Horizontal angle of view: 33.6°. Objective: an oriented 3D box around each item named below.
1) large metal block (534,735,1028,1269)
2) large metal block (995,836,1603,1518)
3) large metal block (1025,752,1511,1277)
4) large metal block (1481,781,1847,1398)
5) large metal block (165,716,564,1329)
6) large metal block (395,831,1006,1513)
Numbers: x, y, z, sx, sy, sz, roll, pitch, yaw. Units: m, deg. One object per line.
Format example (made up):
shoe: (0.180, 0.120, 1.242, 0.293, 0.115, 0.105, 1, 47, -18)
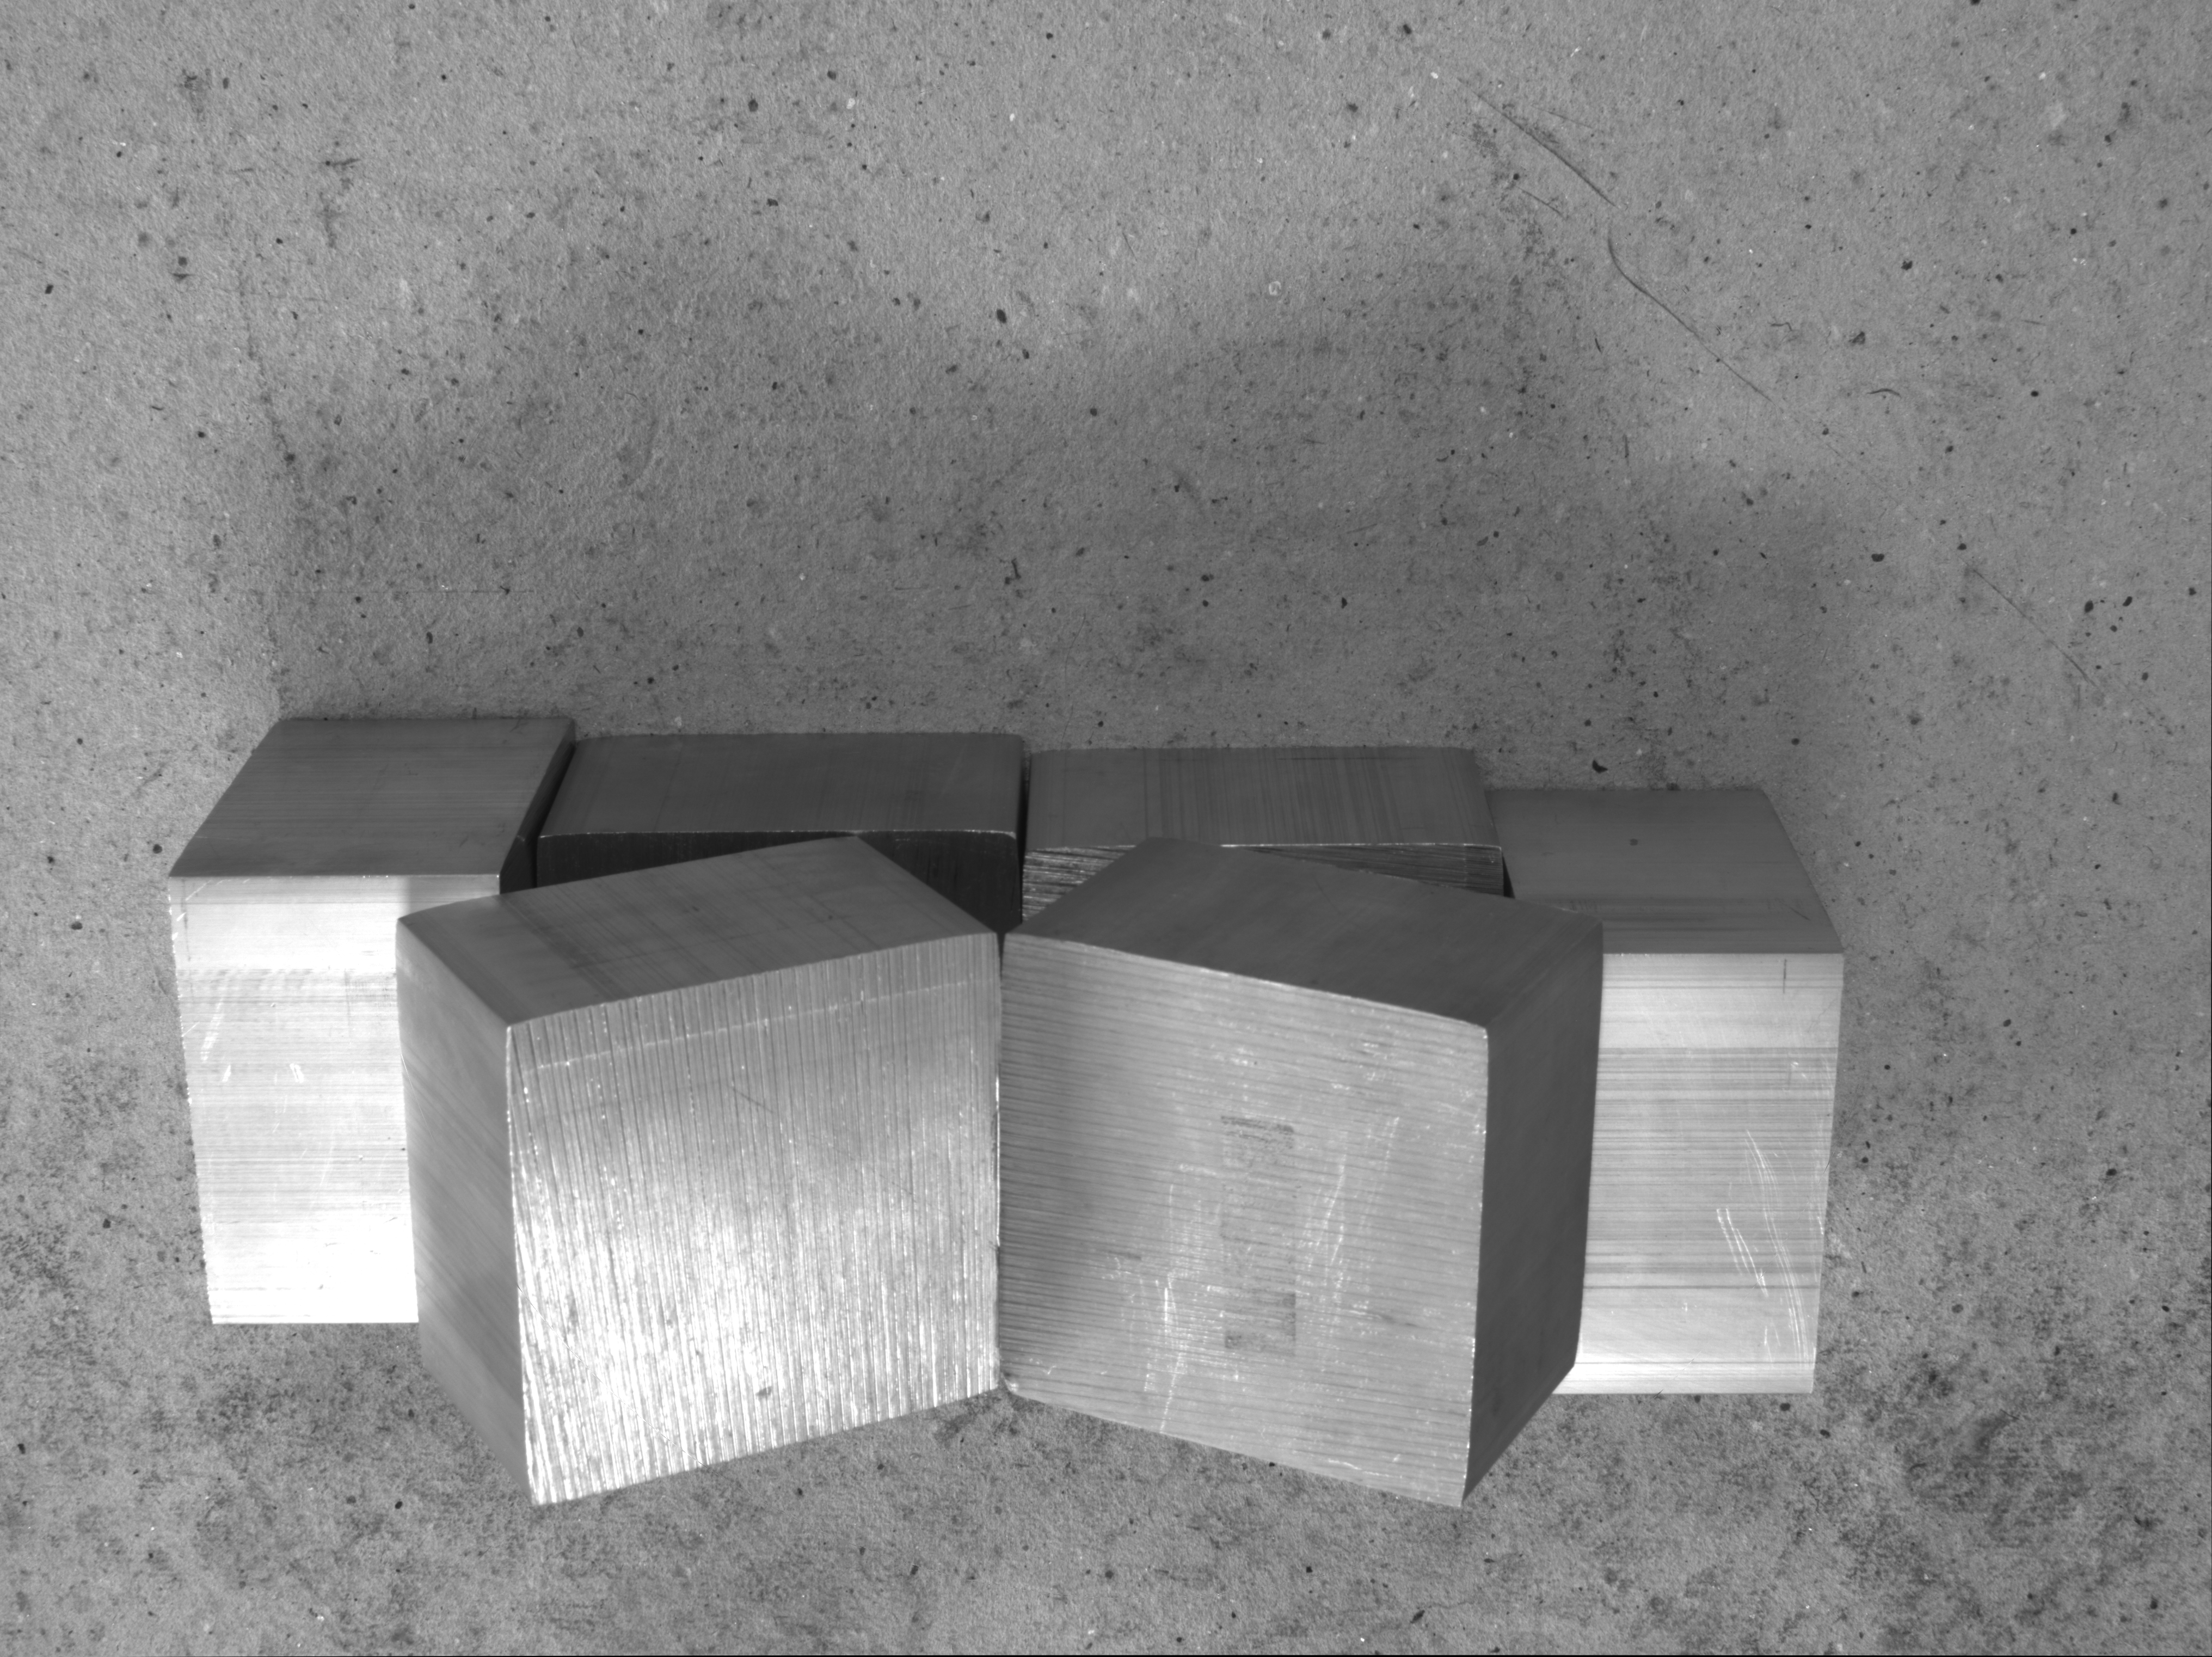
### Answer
large metal block: (-0.054, 0.030, 0.640, 0.080, 0.050, 0.080, 0, 110, 0)
large metal block: (0.030, 0.053, 0.580, 0.080, 0.050, 0.080, 11, 112, 25)
large metal block: (0.027, 0.033, 0.641, 0.080, 0.050, 0.080, 0, 110, 0)
large metal block: (0.092, 0.043, 0.632, 0.050, 0.080, 0.080, 0, 110, 0)
large metal block: (-0.121, 0.031, 0.625, 0.050, 0.080, 0.080, 0, 109, 1)
large metal block: (-0.063, 0.052, 0.579, 0.080, 0.050, 0.080, -10, 112, -27)
